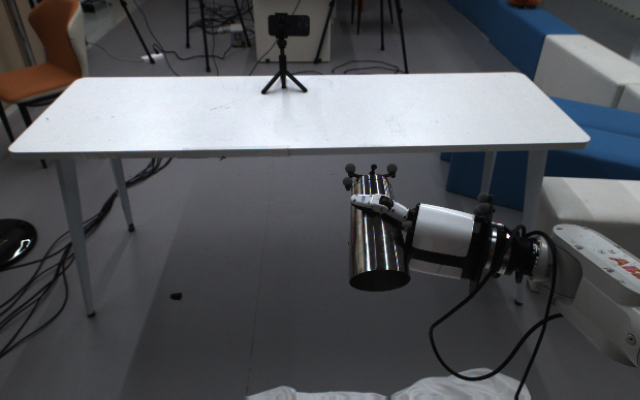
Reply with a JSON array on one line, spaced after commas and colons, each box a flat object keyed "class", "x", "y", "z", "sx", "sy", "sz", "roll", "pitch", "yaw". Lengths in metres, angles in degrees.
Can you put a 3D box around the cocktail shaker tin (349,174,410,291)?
[{"class": "cocktail shaker tin", "x": 0.086, "y": 0.046, "z": 0.757, "sx": 0.093, "sy": 0.093, "sz": 0.170, "roll": 0, "pitch": 59, "yaw": -3}]
